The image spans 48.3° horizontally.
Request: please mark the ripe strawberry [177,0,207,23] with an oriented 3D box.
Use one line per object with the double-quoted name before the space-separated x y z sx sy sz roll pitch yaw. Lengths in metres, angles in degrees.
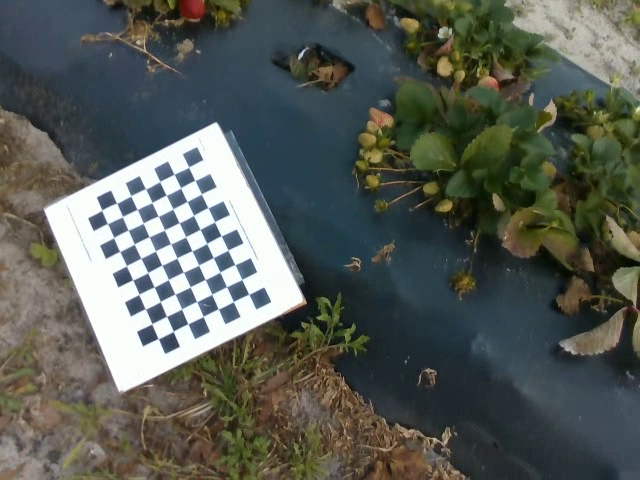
"ripe strawberry" -0.211 -0.381 1.133 0.043 0.047 0.046 -28 45 -3
